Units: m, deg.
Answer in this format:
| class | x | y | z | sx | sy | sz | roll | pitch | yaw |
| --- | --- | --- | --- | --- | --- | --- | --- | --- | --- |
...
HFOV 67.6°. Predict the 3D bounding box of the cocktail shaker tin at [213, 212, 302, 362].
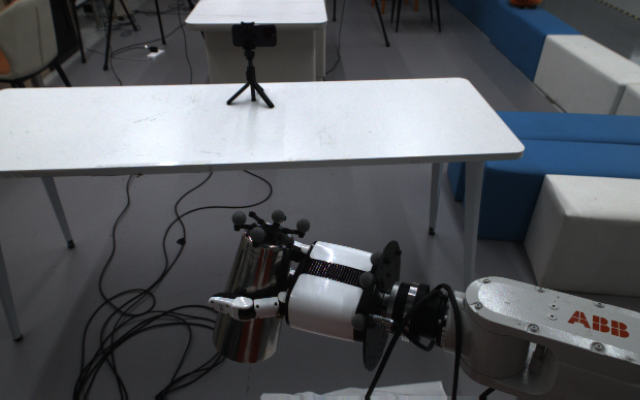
| class | x | y | z | sx | sy | sz | roll | pitch | yaw |
| --- | --- | --- | --- | --- | --- | --- | --- | --- | --- |
| cocktail shaker tin | -0.082 | 0.117 | 0.638 | 0.093 | 0.170 | 0.093 | 12 | 24 | -5 |
